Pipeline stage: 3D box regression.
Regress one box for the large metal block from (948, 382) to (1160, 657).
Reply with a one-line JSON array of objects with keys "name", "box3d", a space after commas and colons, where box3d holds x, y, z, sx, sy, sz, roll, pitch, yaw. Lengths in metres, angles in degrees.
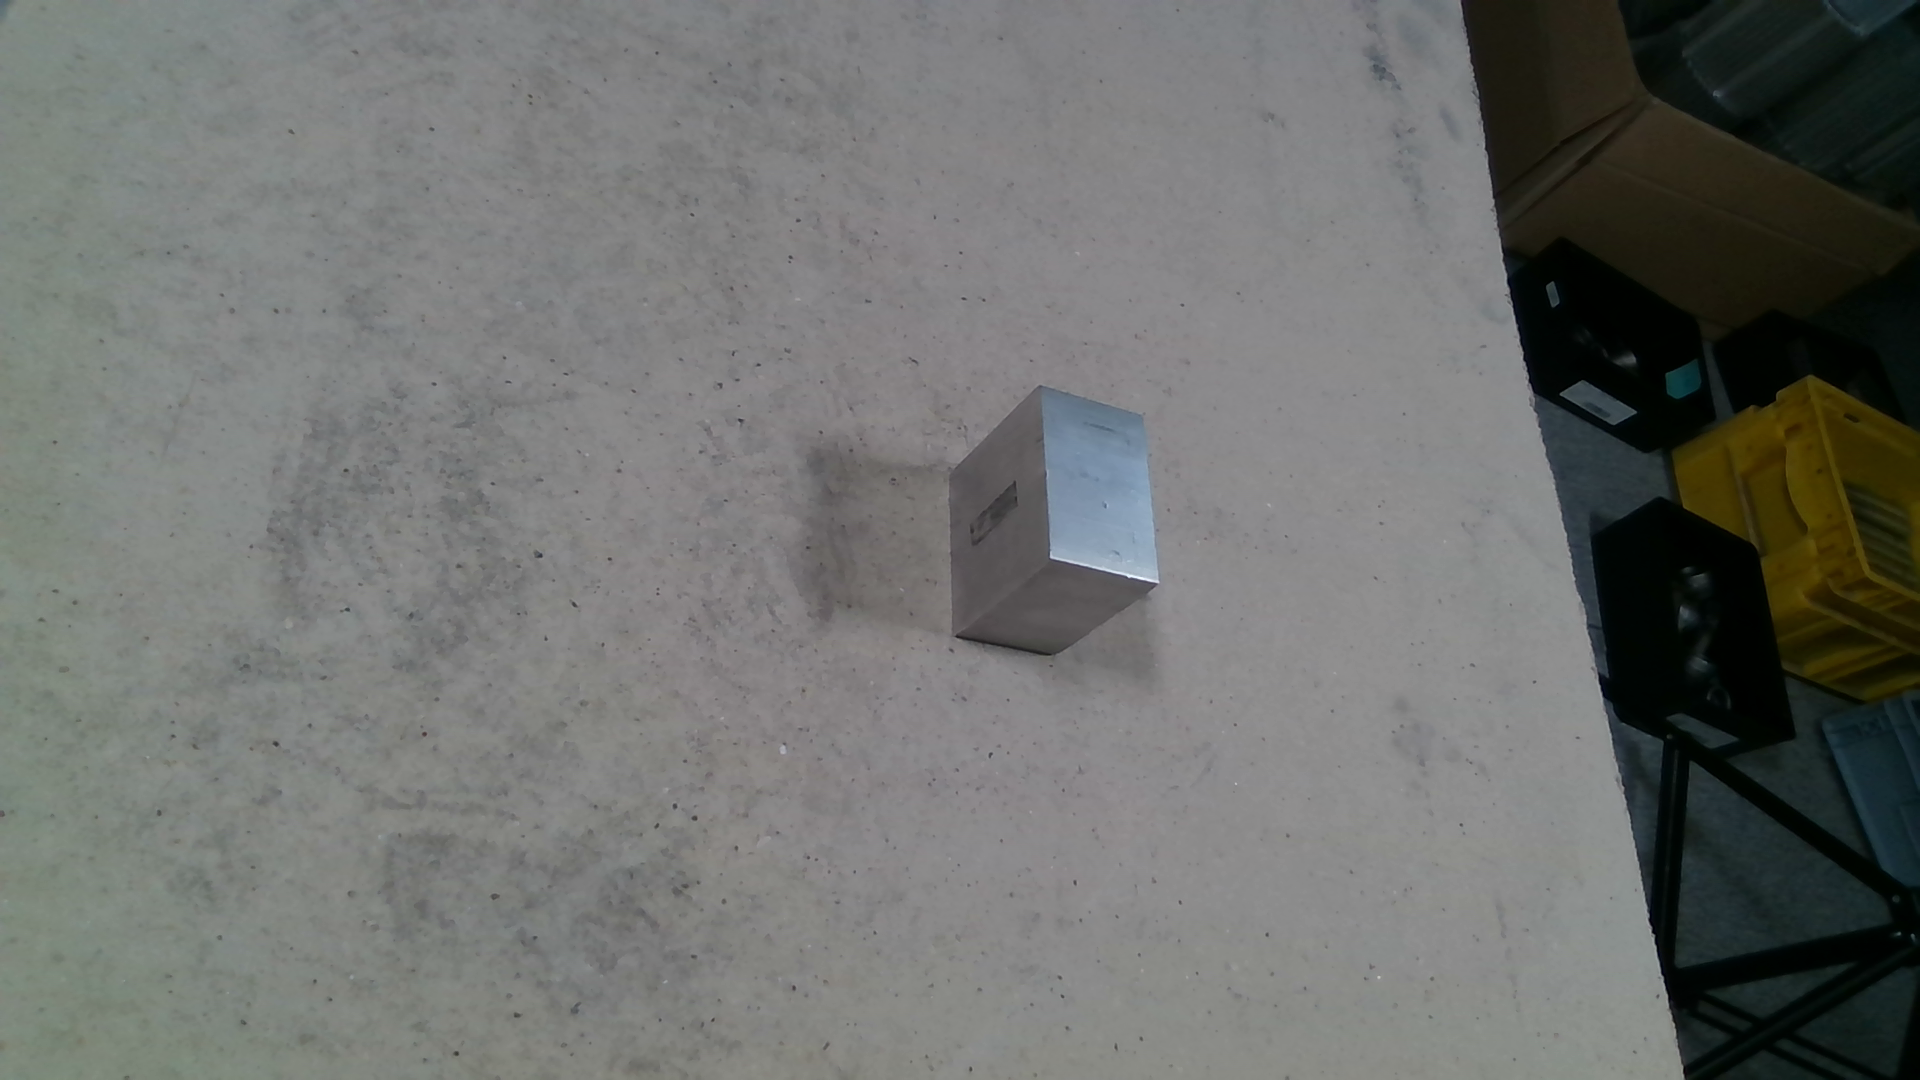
[{"name": "large metal block", "box3d": [0.036, -0.006, 0.577, 0.050, 0.080, 0.080, 13, 59, -26]}]
